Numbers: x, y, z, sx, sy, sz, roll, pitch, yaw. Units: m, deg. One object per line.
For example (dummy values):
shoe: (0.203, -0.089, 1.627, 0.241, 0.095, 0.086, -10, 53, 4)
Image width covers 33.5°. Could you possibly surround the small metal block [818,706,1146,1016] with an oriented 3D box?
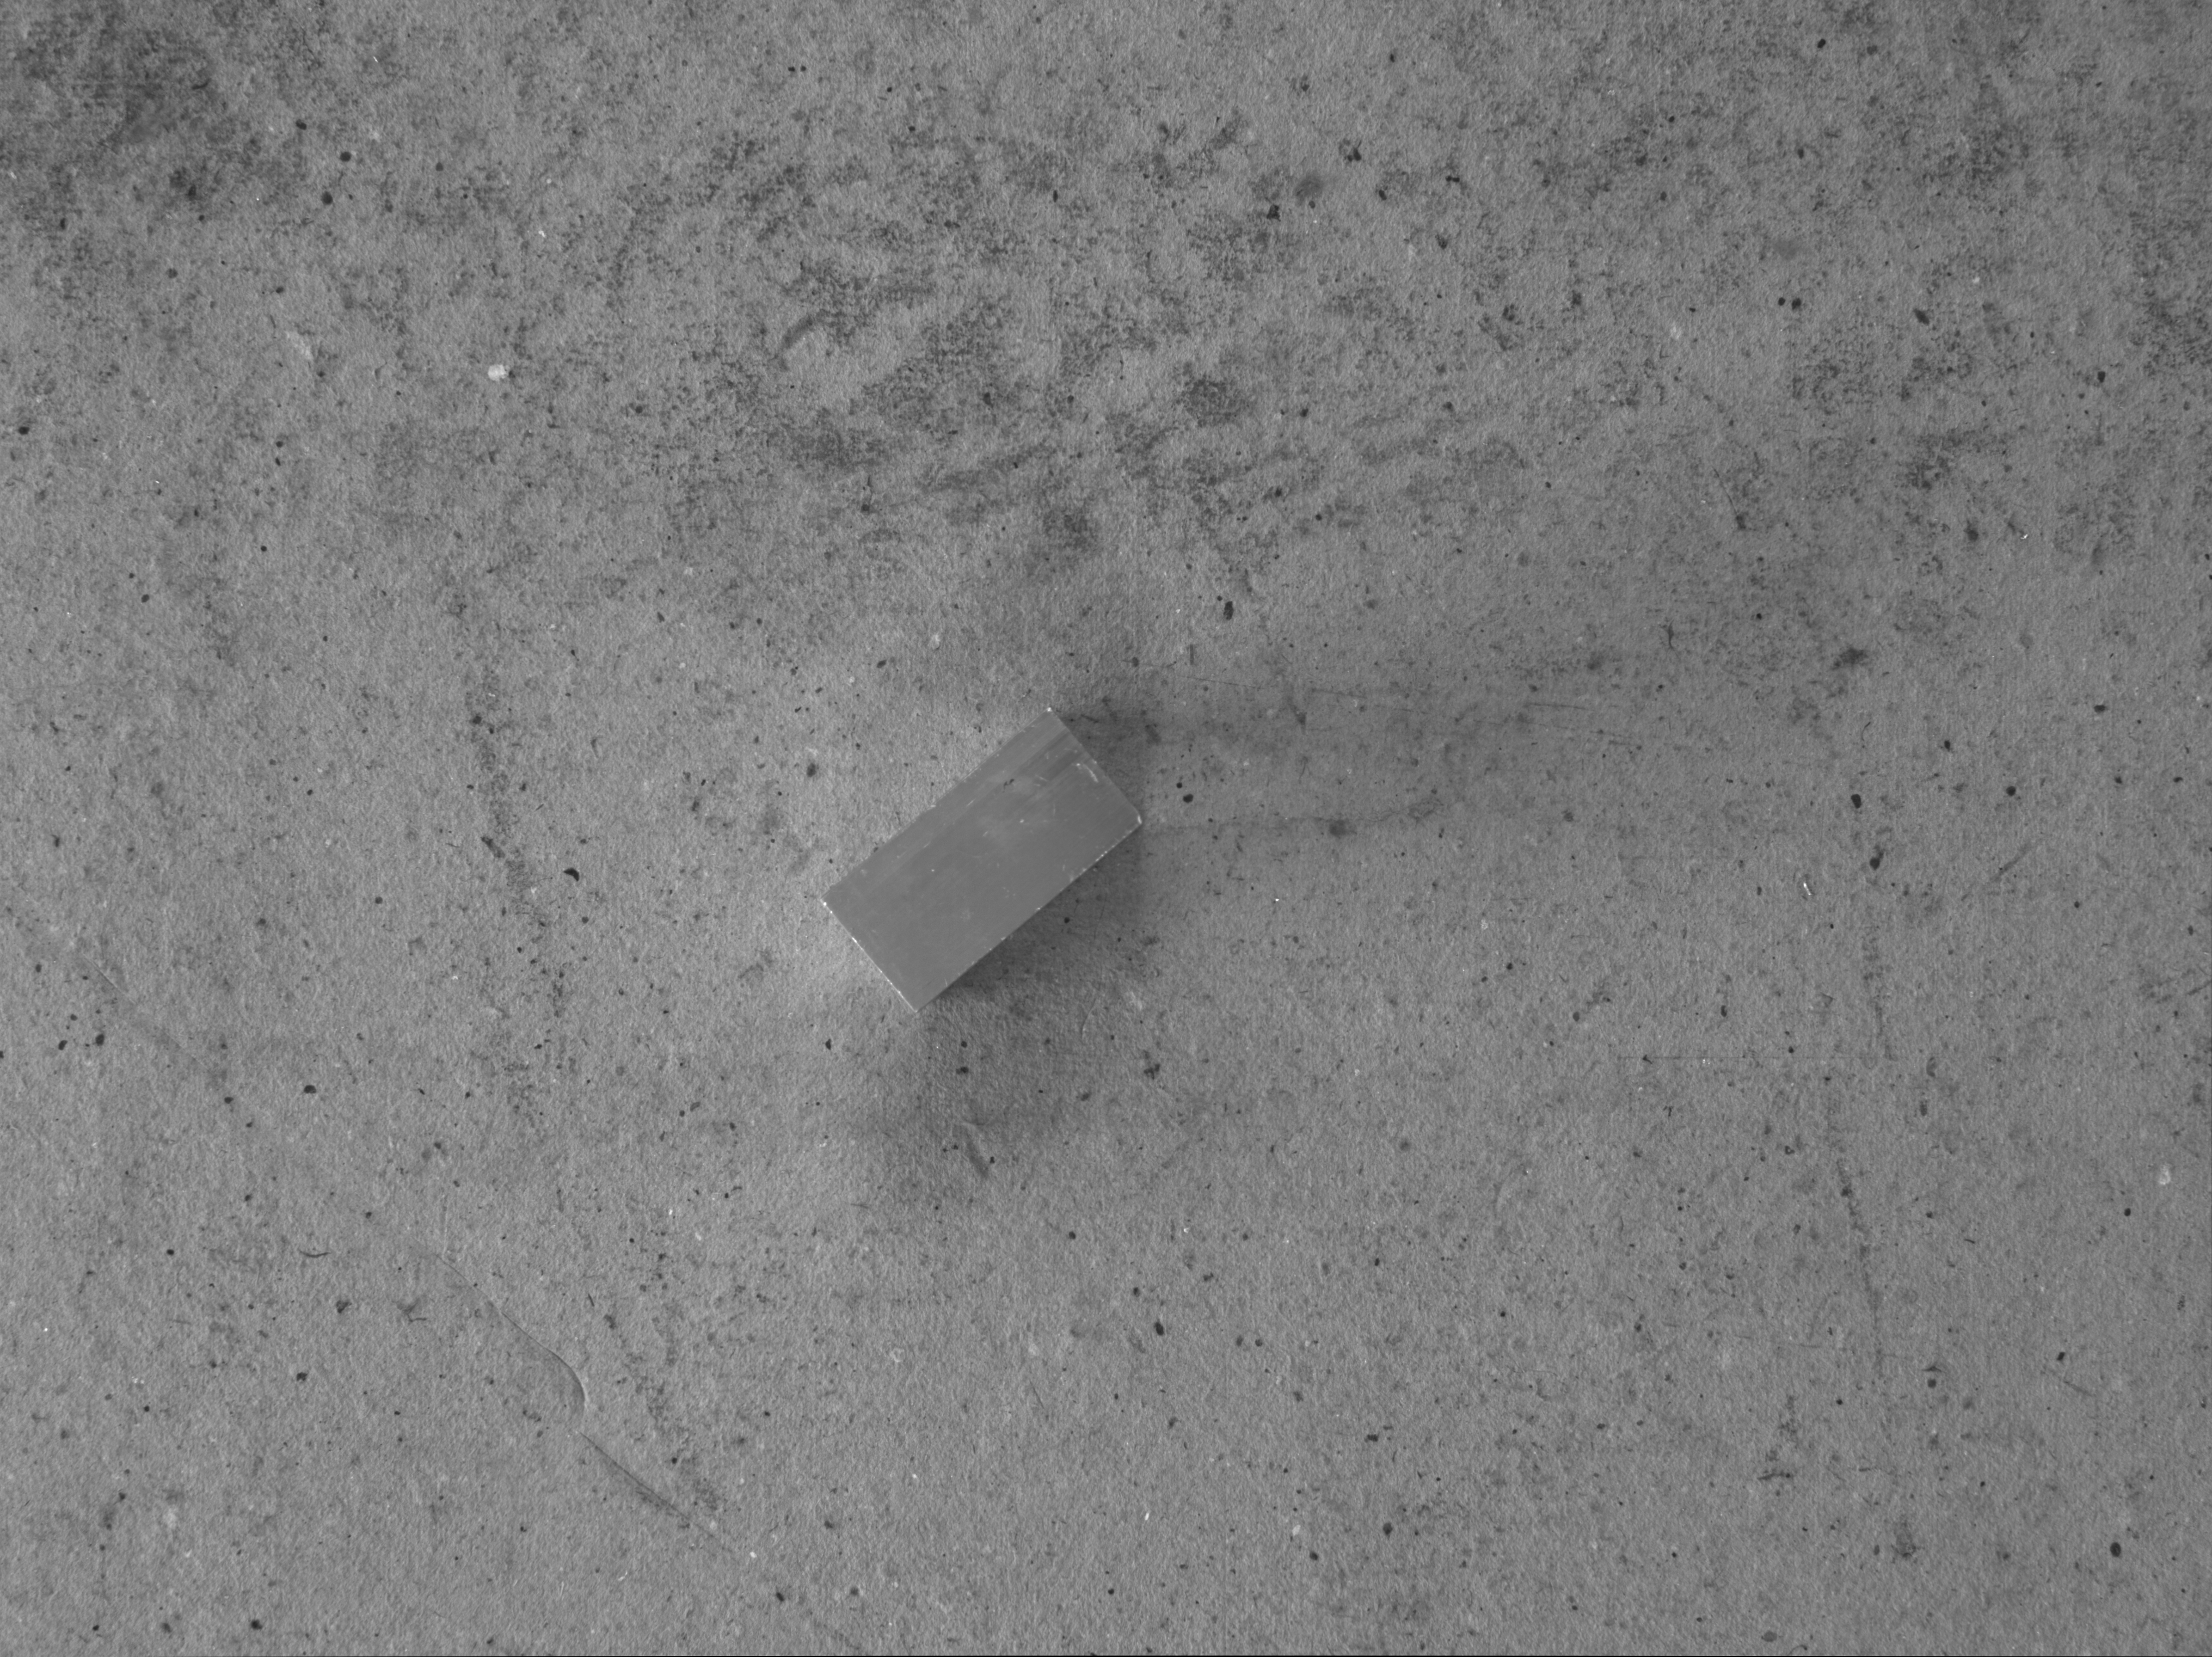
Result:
small metal block: (-0.021, 0.005, 0.634, 0.050, 0.050, 0.025, -40, 90, 0)
